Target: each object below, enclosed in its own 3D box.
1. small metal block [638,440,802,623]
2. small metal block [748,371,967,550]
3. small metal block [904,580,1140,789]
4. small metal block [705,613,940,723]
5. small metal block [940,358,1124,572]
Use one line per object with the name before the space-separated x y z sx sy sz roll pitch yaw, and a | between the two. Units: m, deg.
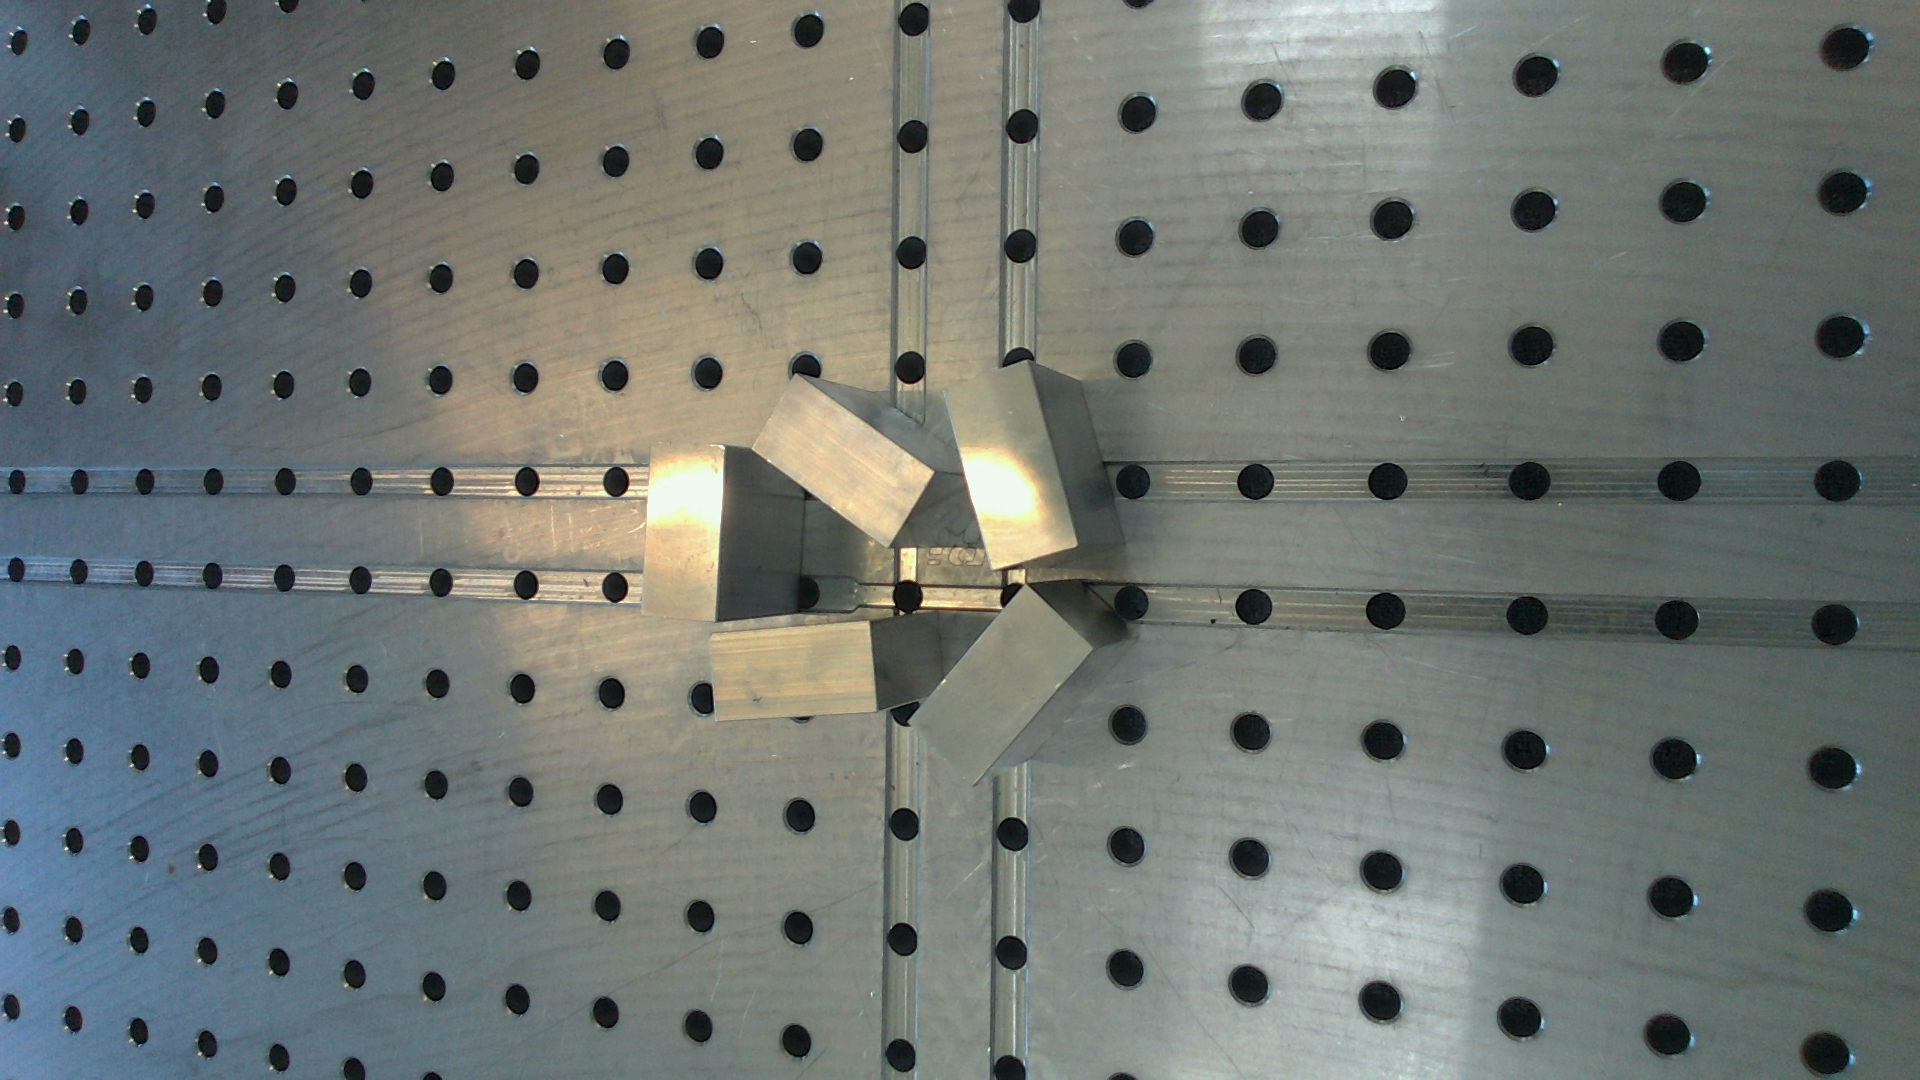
small metal block | -0.070 -0.003 0.410 0.025 0.050 0.050 4 92 20
small metal block | -0.024 -0.022 0.393 0.050 0.050 0.025 35 102 16
small metal block | 0.019 0.038 0.378 0.025 0.050 0.050 44 104 16
small metal block | -0.038 0.036 0.399 0.050 0.050 0.025 -5 88 20
small metal block | 0.021 -0.019 0.377 0.025 0.050 0.050 -17 84 19
